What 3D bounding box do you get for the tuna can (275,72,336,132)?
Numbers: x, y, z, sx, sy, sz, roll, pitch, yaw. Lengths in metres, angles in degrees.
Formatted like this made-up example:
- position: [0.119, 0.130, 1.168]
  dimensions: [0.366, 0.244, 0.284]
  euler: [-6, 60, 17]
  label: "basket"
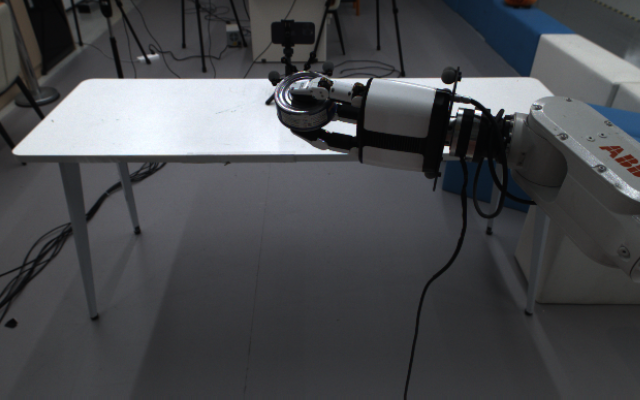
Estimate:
- position: [-0.016, -0.132, 0.666]
  dimensions: [0.085, 0.034, 0.085]
  euler: [-3, 59, 5]
  label: "tuna can"
